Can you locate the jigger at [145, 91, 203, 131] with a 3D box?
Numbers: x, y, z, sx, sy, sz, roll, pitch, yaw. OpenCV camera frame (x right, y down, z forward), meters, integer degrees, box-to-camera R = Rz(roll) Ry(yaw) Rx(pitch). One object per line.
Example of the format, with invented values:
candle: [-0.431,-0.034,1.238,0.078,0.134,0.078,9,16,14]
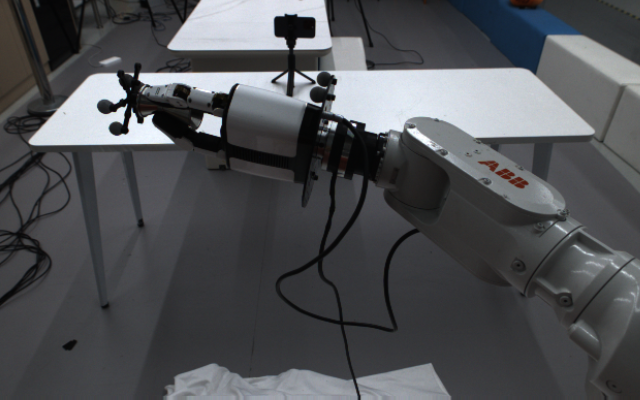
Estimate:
jigger: [-0.174,-0.116,0.587,0.071,0.043,0.043,12,36,4]
